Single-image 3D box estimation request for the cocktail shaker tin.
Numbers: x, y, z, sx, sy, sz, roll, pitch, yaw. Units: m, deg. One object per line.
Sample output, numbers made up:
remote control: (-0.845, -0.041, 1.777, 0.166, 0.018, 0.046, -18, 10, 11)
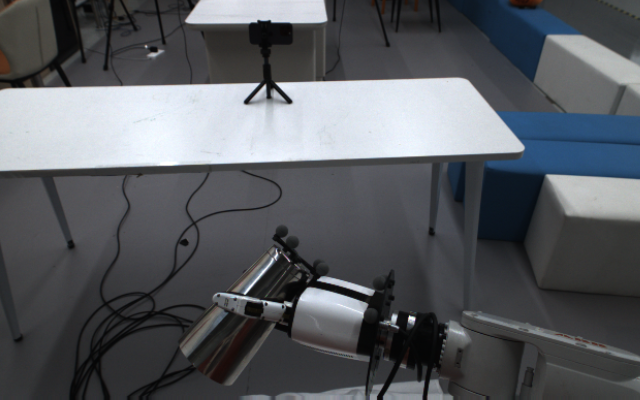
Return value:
cocktail shaker tin: (-0.091, 0.141, 0.636, 0.170, 0.093, 0.093, -48, 49, -4)
